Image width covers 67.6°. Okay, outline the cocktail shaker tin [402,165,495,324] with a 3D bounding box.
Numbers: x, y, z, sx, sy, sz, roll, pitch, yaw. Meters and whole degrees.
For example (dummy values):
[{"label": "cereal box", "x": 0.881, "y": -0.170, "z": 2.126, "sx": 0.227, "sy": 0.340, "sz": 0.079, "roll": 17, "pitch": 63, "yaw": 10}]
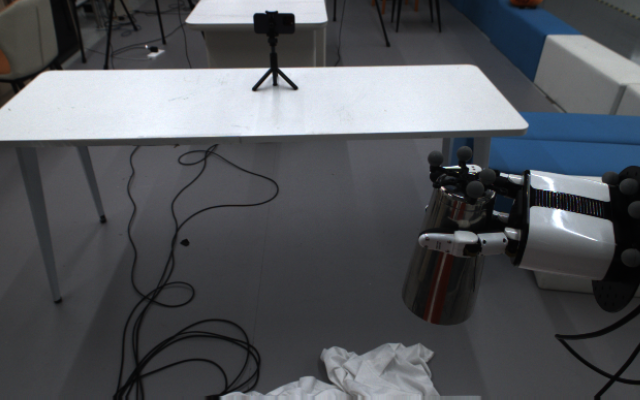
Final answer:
[{"label": "cocktail shaker tin", "x": 0.159, "y": 0.052, "z": 0.579, "sx": 0.093, "sy": 0.170, "sz": 0.093, "roll": 3, "pitch": 33, "yaw": -2}]
